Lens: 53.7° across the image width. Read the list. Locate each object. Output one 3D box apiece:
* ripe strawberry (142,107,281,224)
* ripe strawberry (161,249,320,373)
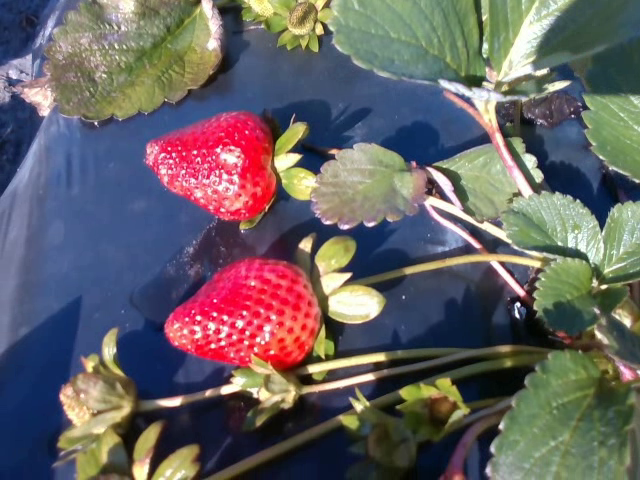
[{"bbox_3d":[-0.040,-0.030,0.223,0.050,0.051,0.045,13,-31,-17],"label":"ripe strawberry"},{"bbox_3d":[-0.023,0.022,0.175,0.049,0.039,0.042,-4,8,-34],"label":"ripe strawberry"}]
